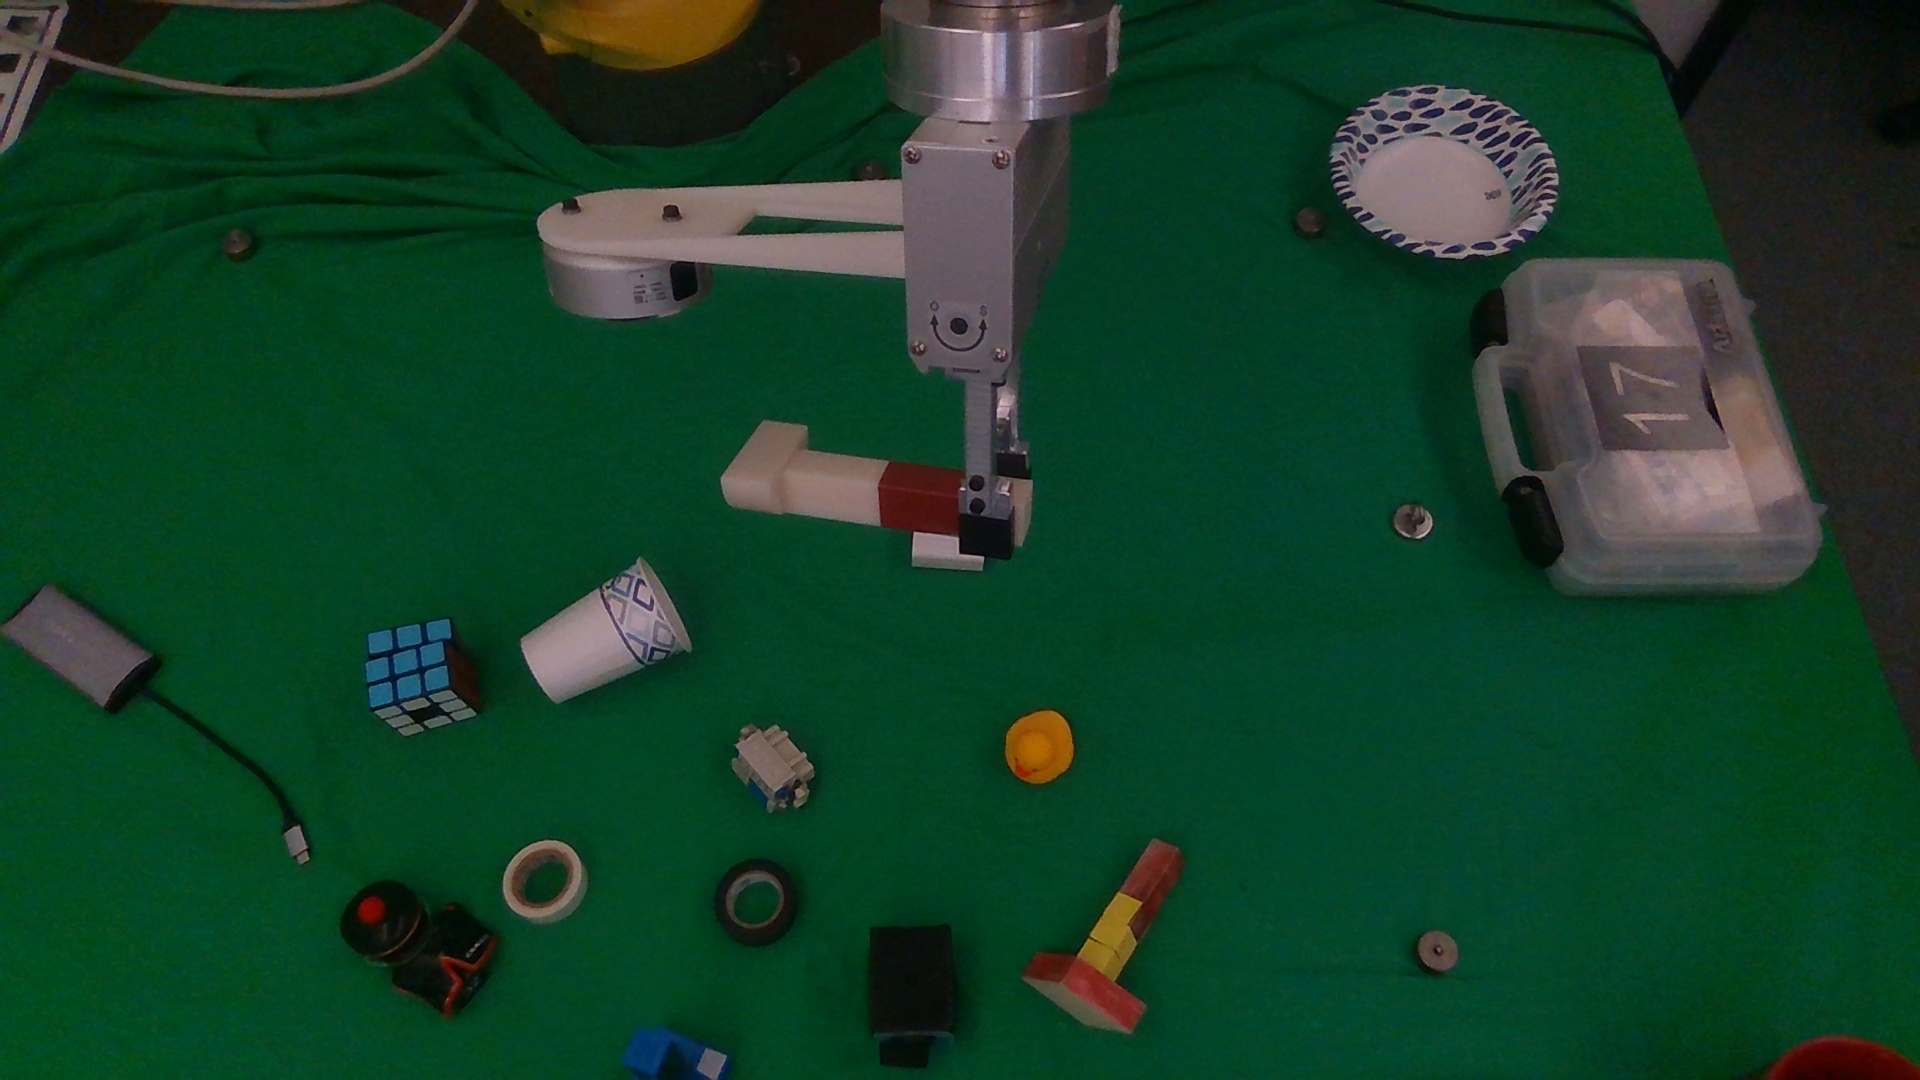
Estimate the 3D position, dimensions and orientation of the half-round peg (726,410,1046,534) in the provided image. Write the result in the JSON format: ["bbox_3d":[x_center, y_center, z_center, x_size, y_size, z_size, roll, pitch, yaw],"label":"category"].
[{"bbox_3d":[-0.027,-0.022,0.552,0.122,0.031,0.054,9,34,11],"label":"half-round peg"}]

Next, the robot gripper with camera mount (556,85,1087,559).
[{"bbox_3d":[-0.057,-0.075,0.520,0.194,0.158,0.119,4,33,11],"label":"robot gripper with camera mount"}]
